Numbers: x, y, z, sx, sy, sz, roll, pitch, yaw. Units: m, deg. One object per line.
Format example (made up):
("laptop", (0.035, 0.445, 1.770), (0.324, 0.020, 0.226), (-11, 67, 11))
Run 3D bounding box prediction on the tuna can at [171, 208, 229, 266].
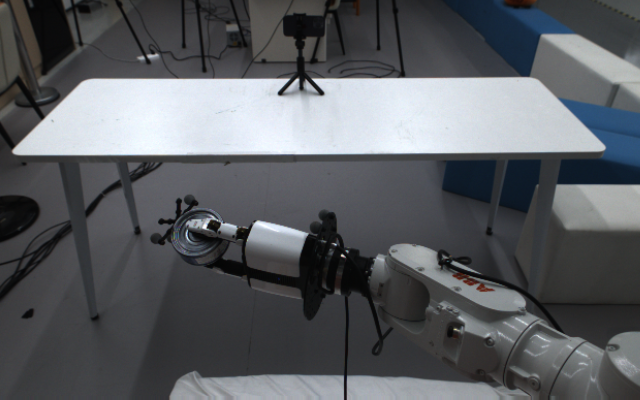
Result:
("tuna can", (-0.182, 0.057, 0.746), (0.085, 0.034, 0.085), (-1, 63, 2))
